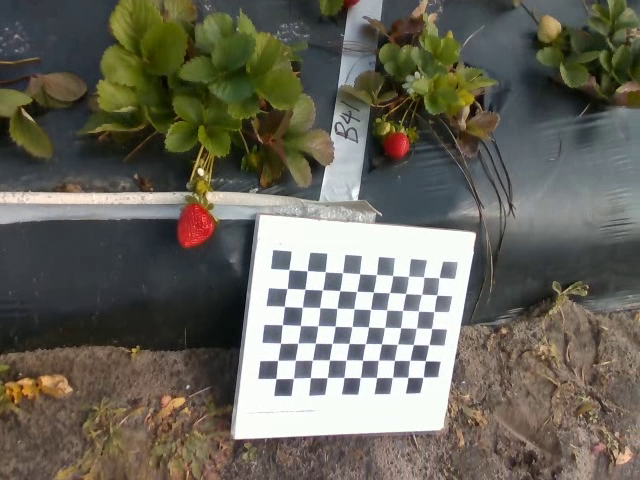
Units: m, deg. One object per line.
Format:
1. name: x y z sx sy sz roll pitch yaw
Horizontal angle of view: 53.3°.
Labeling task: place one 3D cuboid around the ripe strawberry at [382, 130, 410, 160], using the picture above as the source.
1. ripe strawberry: 0.094 -0.113 0.743 0.037 0.048 0.030 19 -50 -21

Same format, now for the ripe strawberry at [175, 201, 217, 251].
1. ripe strawberry: -0.128 -0.012 0.636 0.048 0.052 0.030 46 -31 -22
